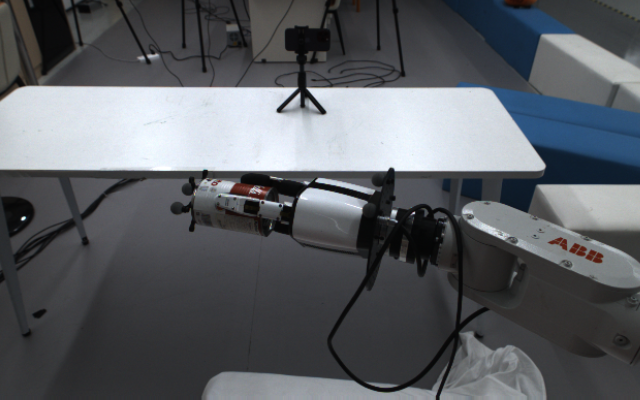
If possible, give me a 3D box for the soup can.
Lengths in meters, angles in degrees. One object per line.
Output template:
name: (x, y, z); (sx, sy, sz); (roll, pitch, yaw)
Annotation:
soup can: (-0.113, 0.010, 0.660); (0.101, 0.067, 0.067); (8, 35, 11)
